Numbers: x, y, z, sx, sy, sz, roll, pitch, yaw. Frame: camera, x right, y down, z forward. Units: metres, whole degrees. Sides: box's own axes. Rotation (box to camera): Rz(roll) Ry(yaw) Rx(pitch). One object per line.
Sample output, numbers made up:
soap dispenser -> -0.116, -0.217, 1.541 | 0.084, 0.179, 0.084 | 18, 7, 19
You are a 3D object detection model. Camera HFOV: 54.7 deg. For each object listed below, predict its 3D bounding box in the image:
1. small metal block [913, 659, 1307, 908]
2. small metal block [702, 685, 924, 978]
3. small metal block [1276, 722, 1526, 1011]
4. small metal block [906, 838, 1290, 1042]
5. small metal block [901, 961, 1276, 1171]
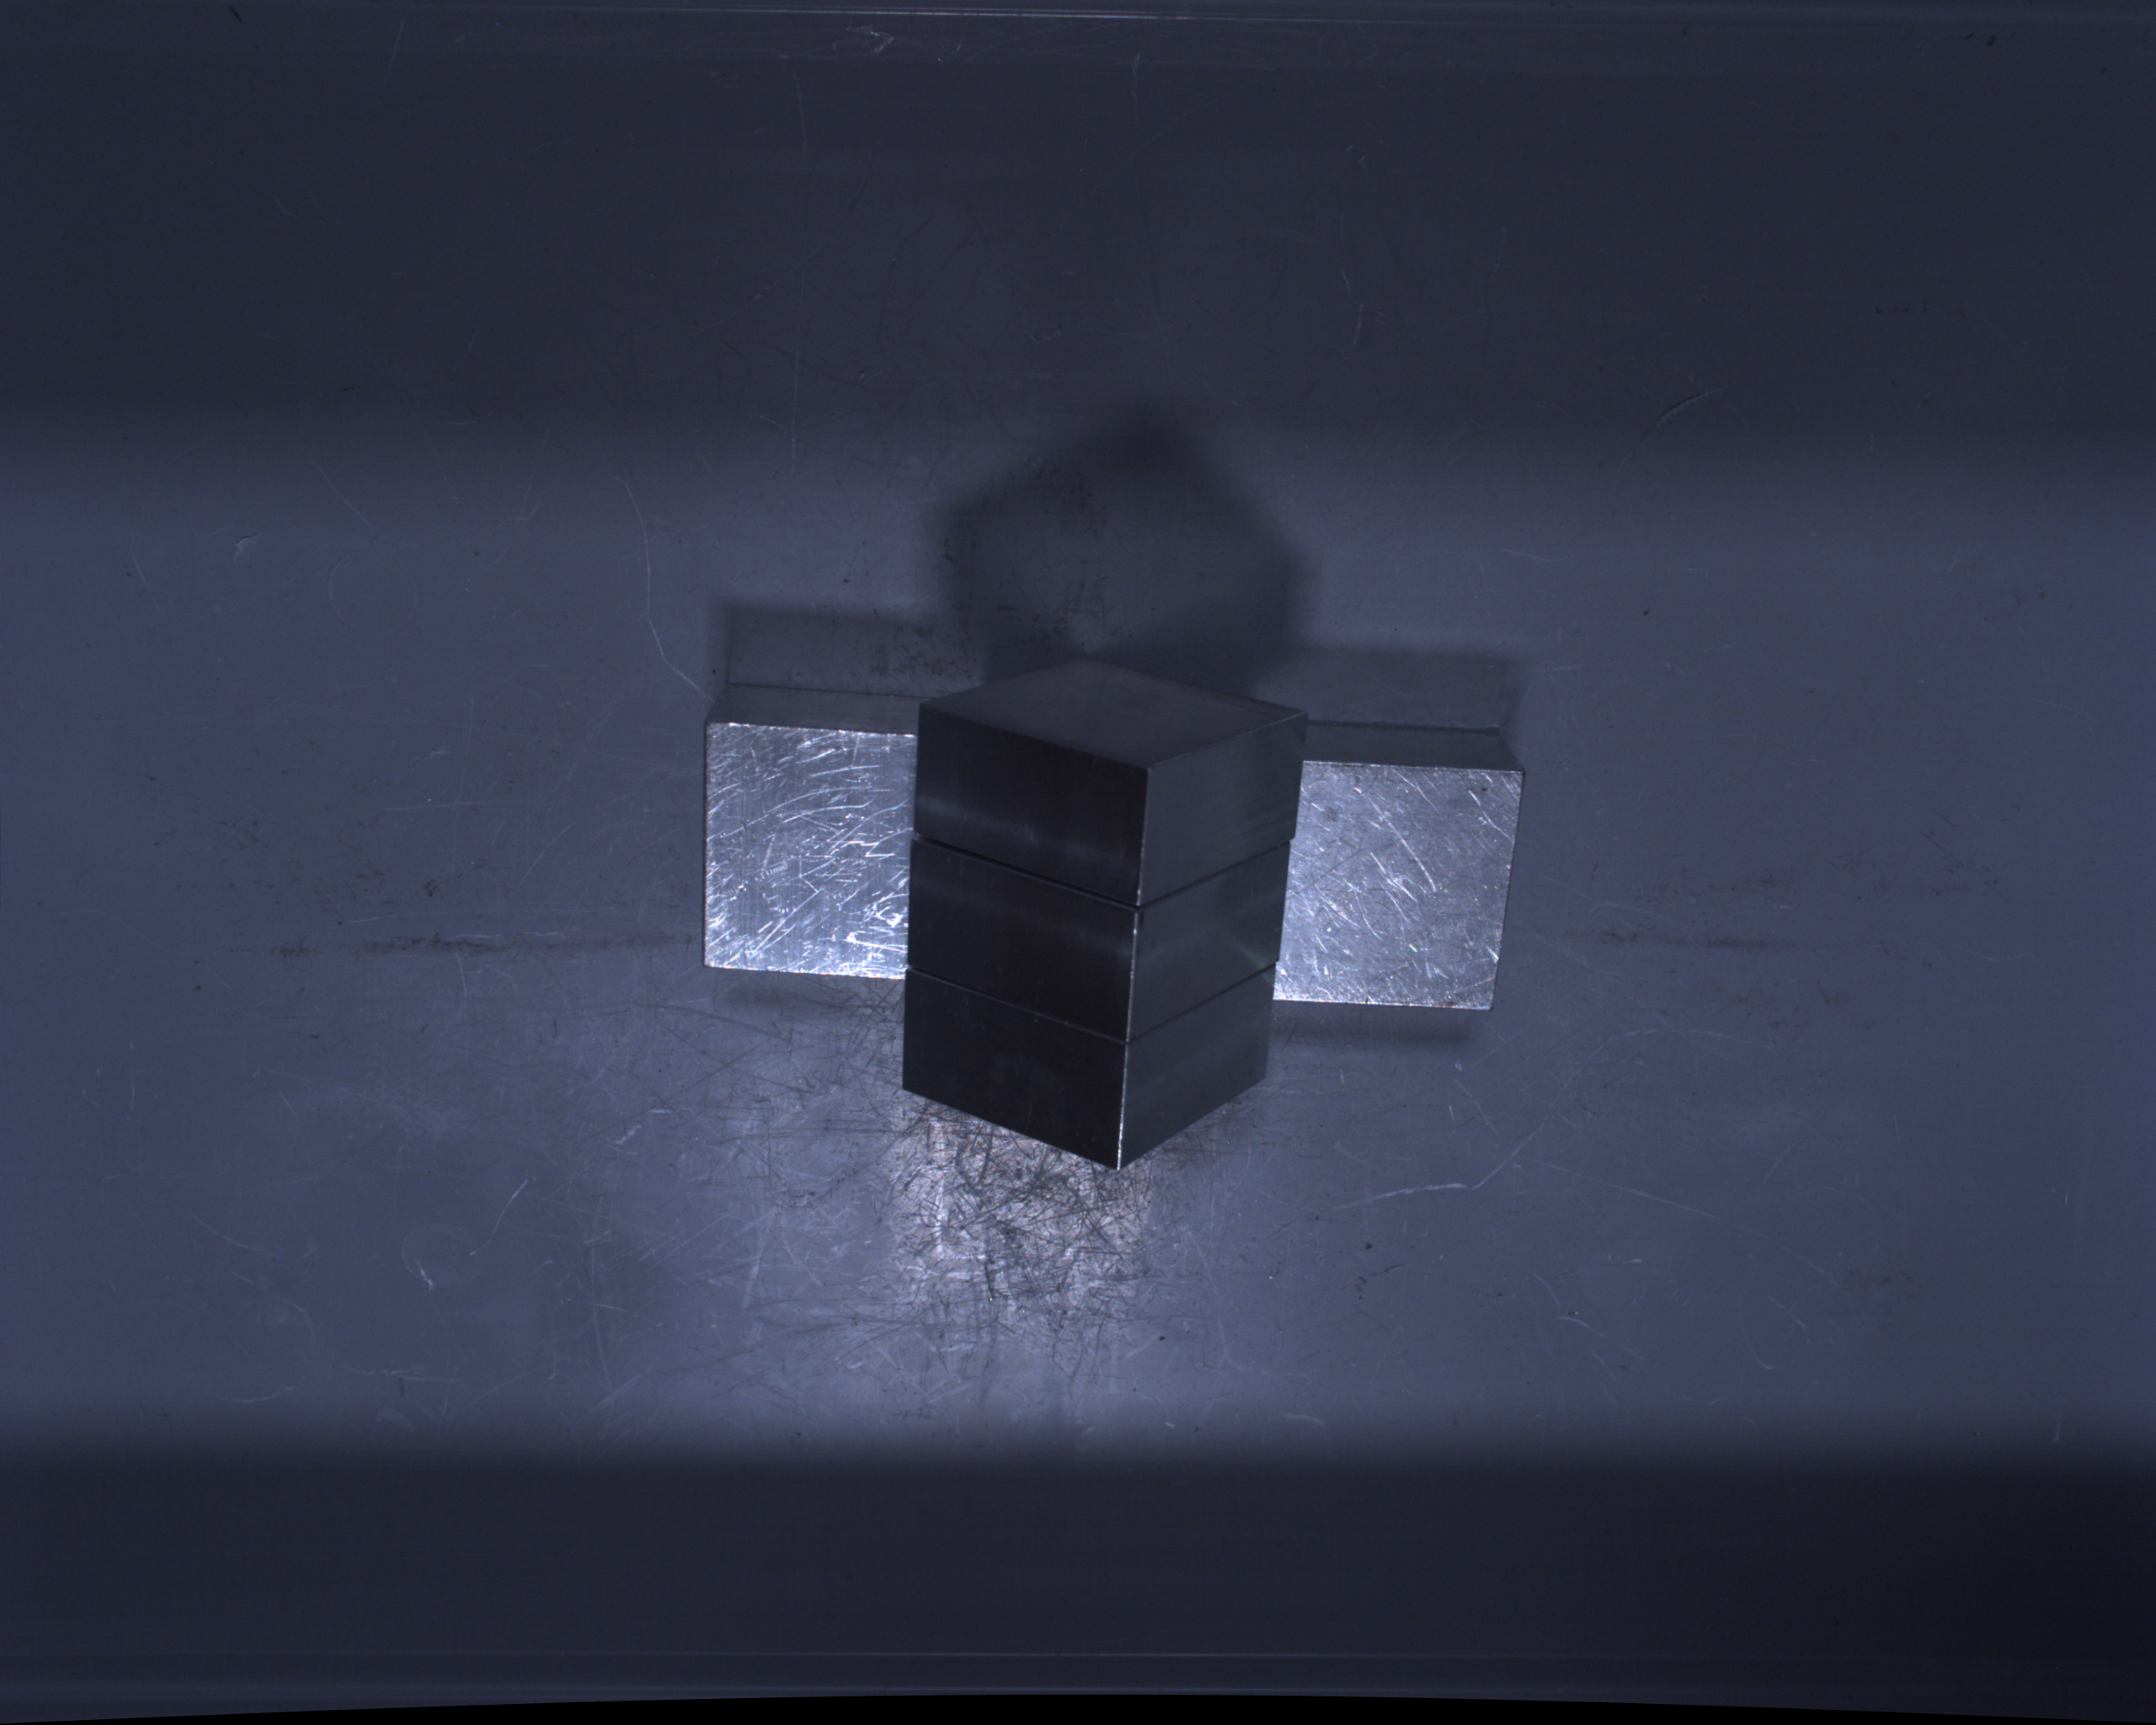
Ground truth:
small metal block -> 0.006, -0.016, 0.379 | 0.050, 0.050, 0.025 | 17, 113, 32
small metal block -> -0.046, -0.006, 0.407 | 0.050, 0.025, 0.050 | 4, 110, -2
small metal block -> 0.057, 0.000, 0.411 | 0.050, 0.025, 0.050 | 3, 110, -2
small metal block -> 0.004, 0.007, 0.388 | 0.050, 0.050, 0.025 | 16, 113, 33
small metal block -> 0.002, 0.031, 0.397 | 0.050, 0.050, 0.025 | 16, 113, 33
